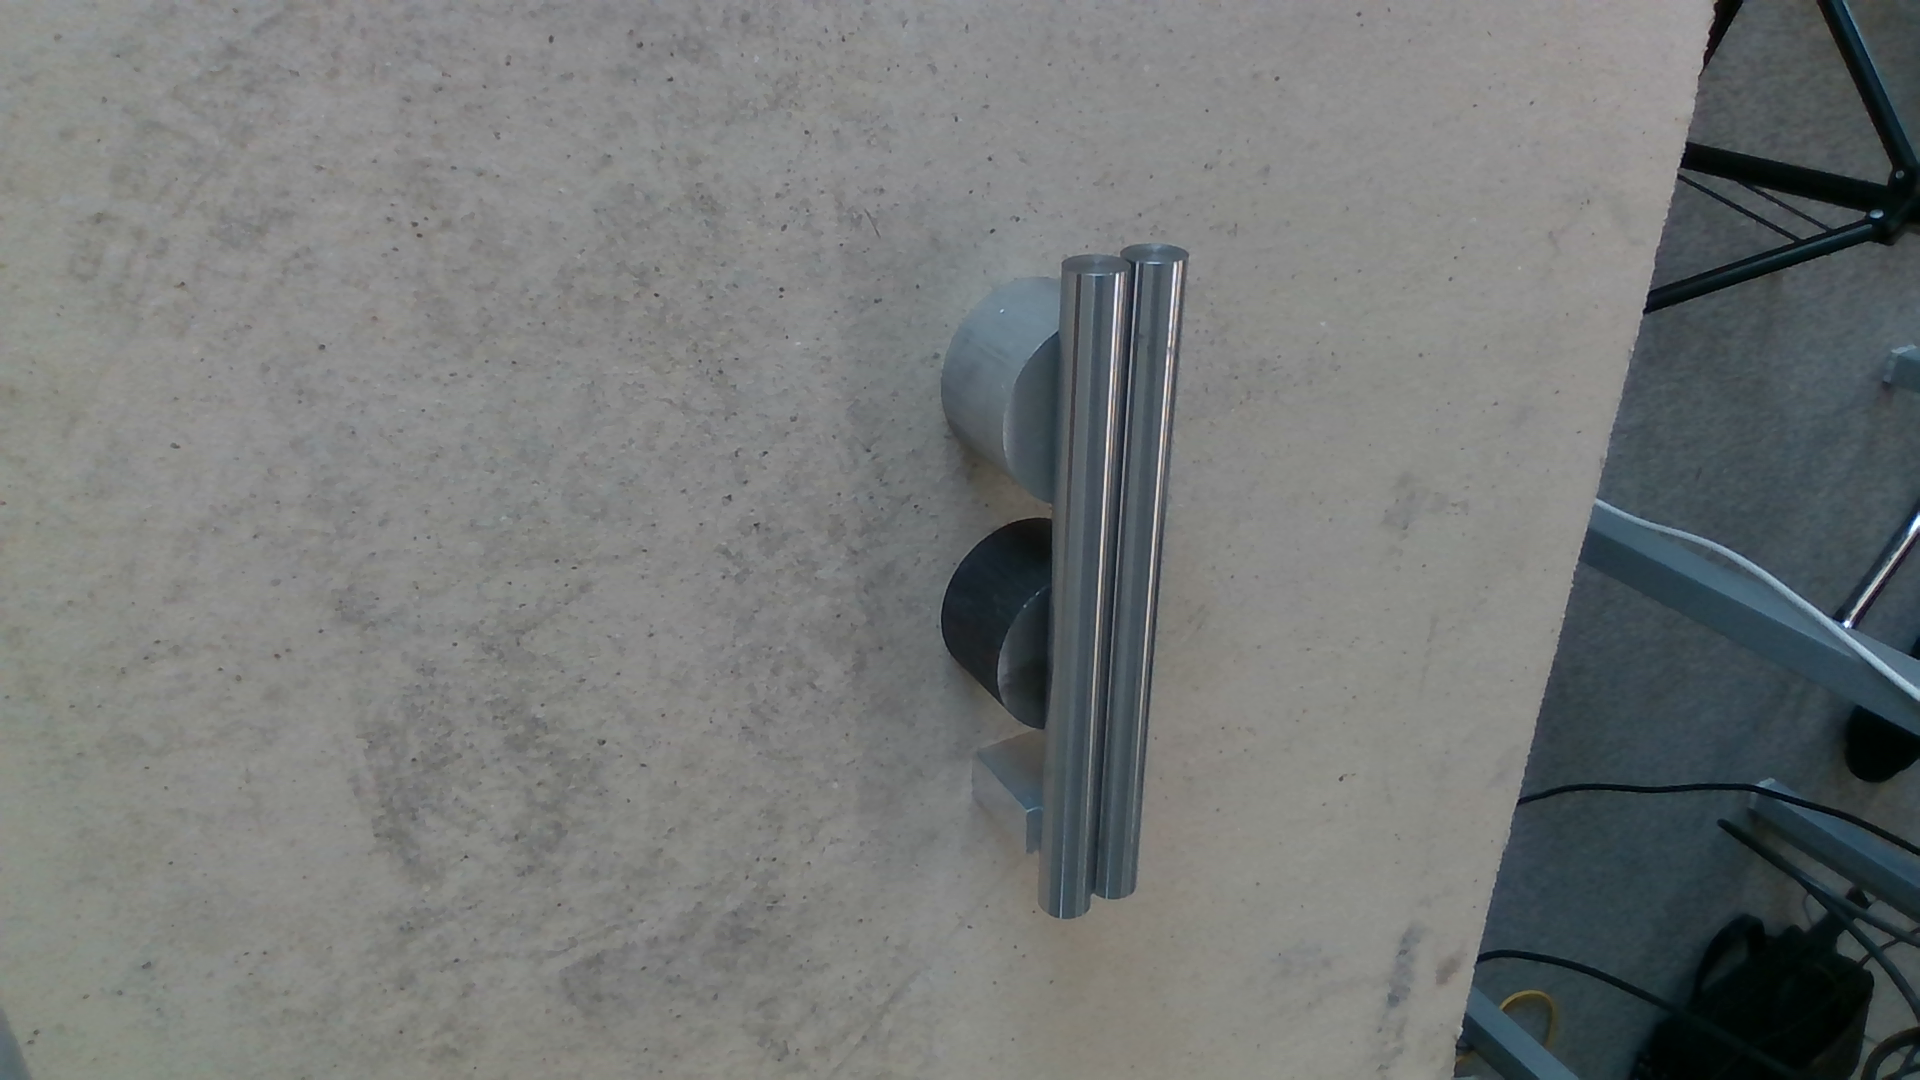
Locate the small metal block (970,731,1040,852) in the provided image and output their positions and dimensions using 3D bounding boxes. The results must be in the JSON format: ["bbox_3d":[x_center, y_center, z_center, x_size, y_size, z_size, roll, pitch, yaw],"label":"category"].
[{"bbox_3d":[0.039,0.115,0.653,0.050,0.050,0.025,-16,123,-24],"label":"small metal block"}]

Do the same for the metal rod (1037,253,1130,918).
[{"bbox_3d":[0.048,0.033,0.564,0.025,0.025,0.301,-14,122,-25],"label":"metal rod"}]

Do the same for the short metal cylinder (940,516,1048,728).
[{"bbox_3d":[0.038,0.036,0.609,0.080,0.050,0.080,-14,122,-25],"label":"short metal cylinder"}]

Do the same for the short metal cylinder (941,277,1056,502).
[{"bbox_3d":[0.040,-0.060,0.556,0.080,0.050,0.080,-14,122,-25],"label":"short metal cylinder"}]

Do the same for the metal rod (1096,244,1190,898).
[{"bbox_3d":[0.071,0.027,0.574,0.025,0.025,0.301,-14,122,-25],"label":"metal rod"}]
